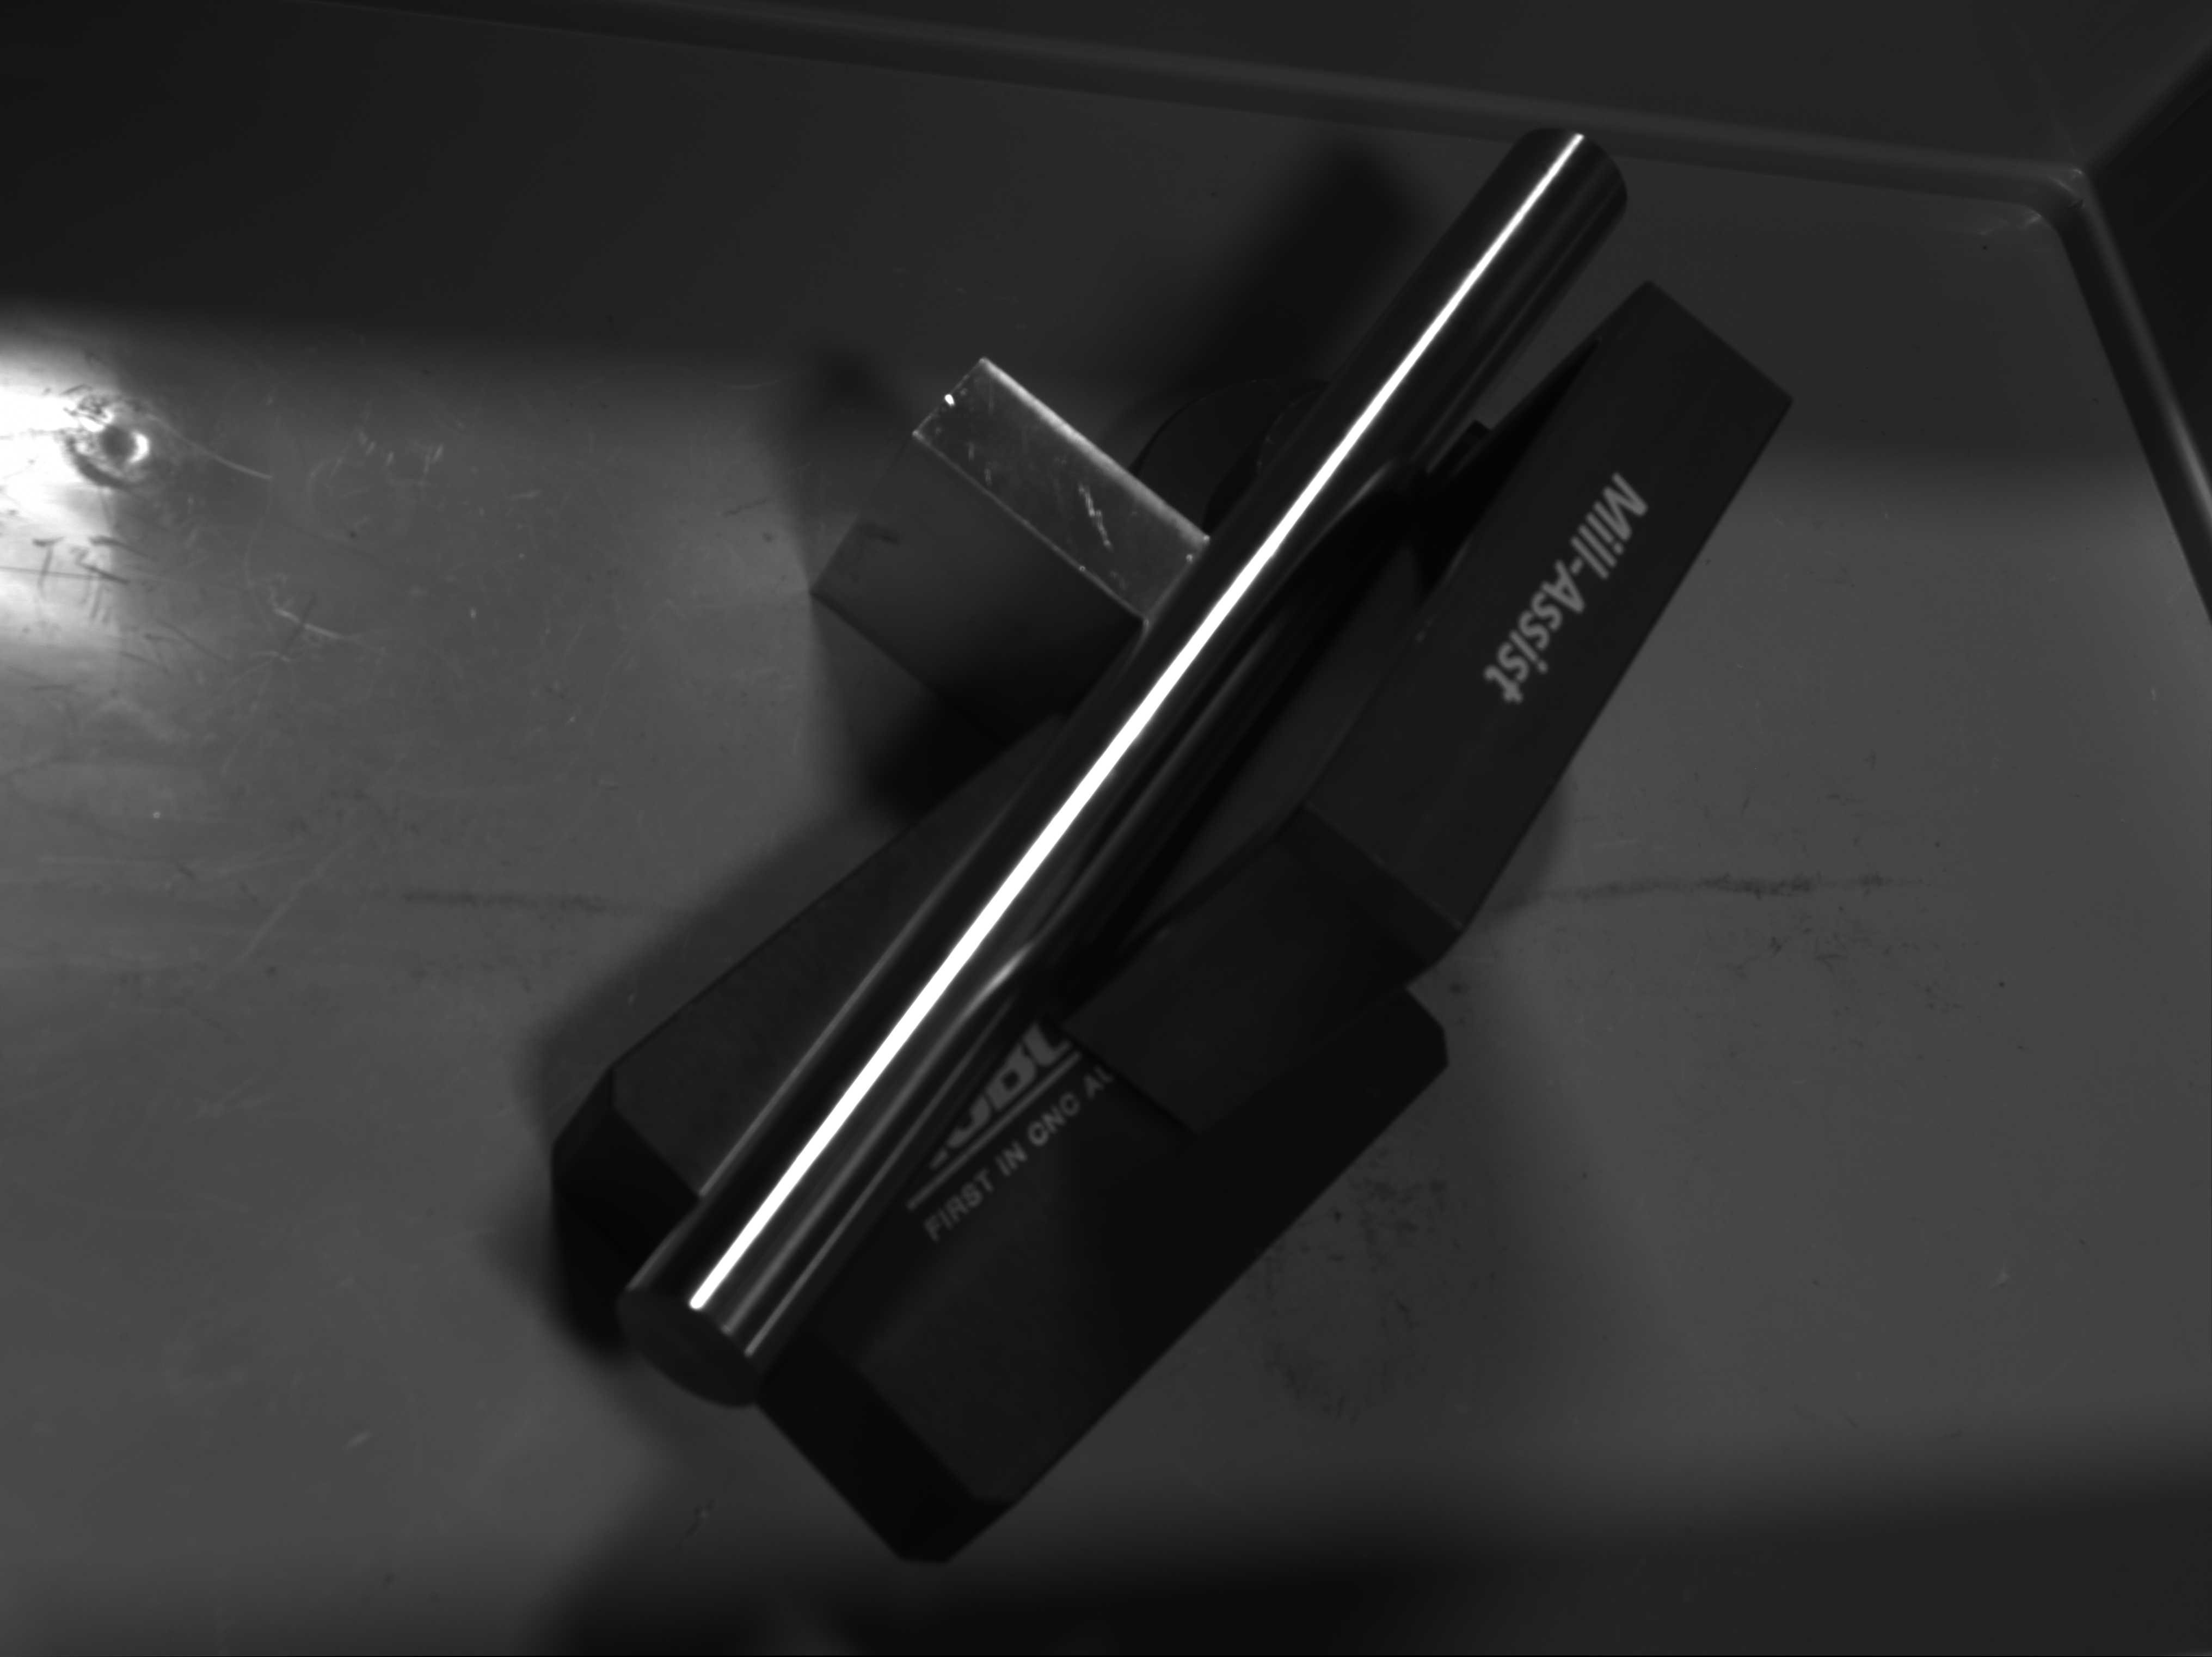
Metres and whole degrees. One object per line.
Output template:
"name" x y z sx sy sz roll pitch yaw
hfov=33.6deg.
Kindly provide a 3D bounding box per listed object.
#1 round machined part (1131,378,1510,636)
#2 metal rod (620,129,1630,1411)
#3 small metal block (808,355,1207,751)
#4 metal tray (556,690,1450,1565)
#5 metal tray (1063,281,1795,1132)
"round machined part" 0.048 -0.044 0.680 0.098 0.042 0.098 14 56 -21
"metal rod" 0.014 -0.024 0.610 0.025 0.025 0.300 38 55 -2
"small metal block" -0.017 -0.046 0.641 0.050 0.050 0.025 39 51 -2
"metal tray" -0.014 0.045 0.600 0.090 0.030 0.130 46 51 4
"metal tray" 0.052 -0.020 0.588 0.030 0.090 0.130 39 57 -5
